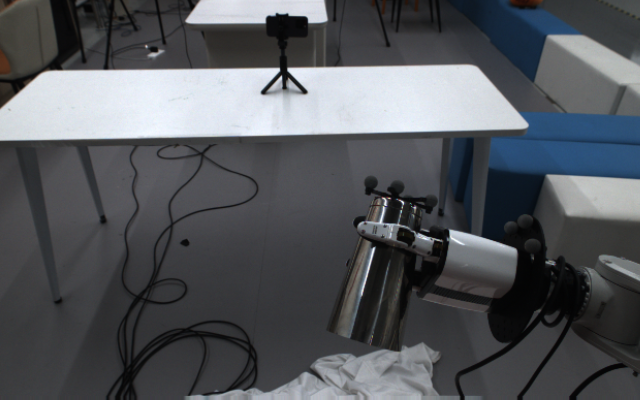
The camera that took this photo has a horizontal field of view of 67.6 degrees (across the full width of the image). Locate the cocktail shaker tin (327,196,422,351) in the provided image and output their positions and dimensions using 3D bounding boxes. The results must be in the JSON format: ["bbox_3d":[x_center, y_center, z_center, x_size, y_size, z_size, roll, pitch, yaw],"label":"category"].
[{"bbox_3d":[0.078,0.085,0.594,0.093,0.093,0.170,13,79,15],"label":"cocktail shaker tin"}]
